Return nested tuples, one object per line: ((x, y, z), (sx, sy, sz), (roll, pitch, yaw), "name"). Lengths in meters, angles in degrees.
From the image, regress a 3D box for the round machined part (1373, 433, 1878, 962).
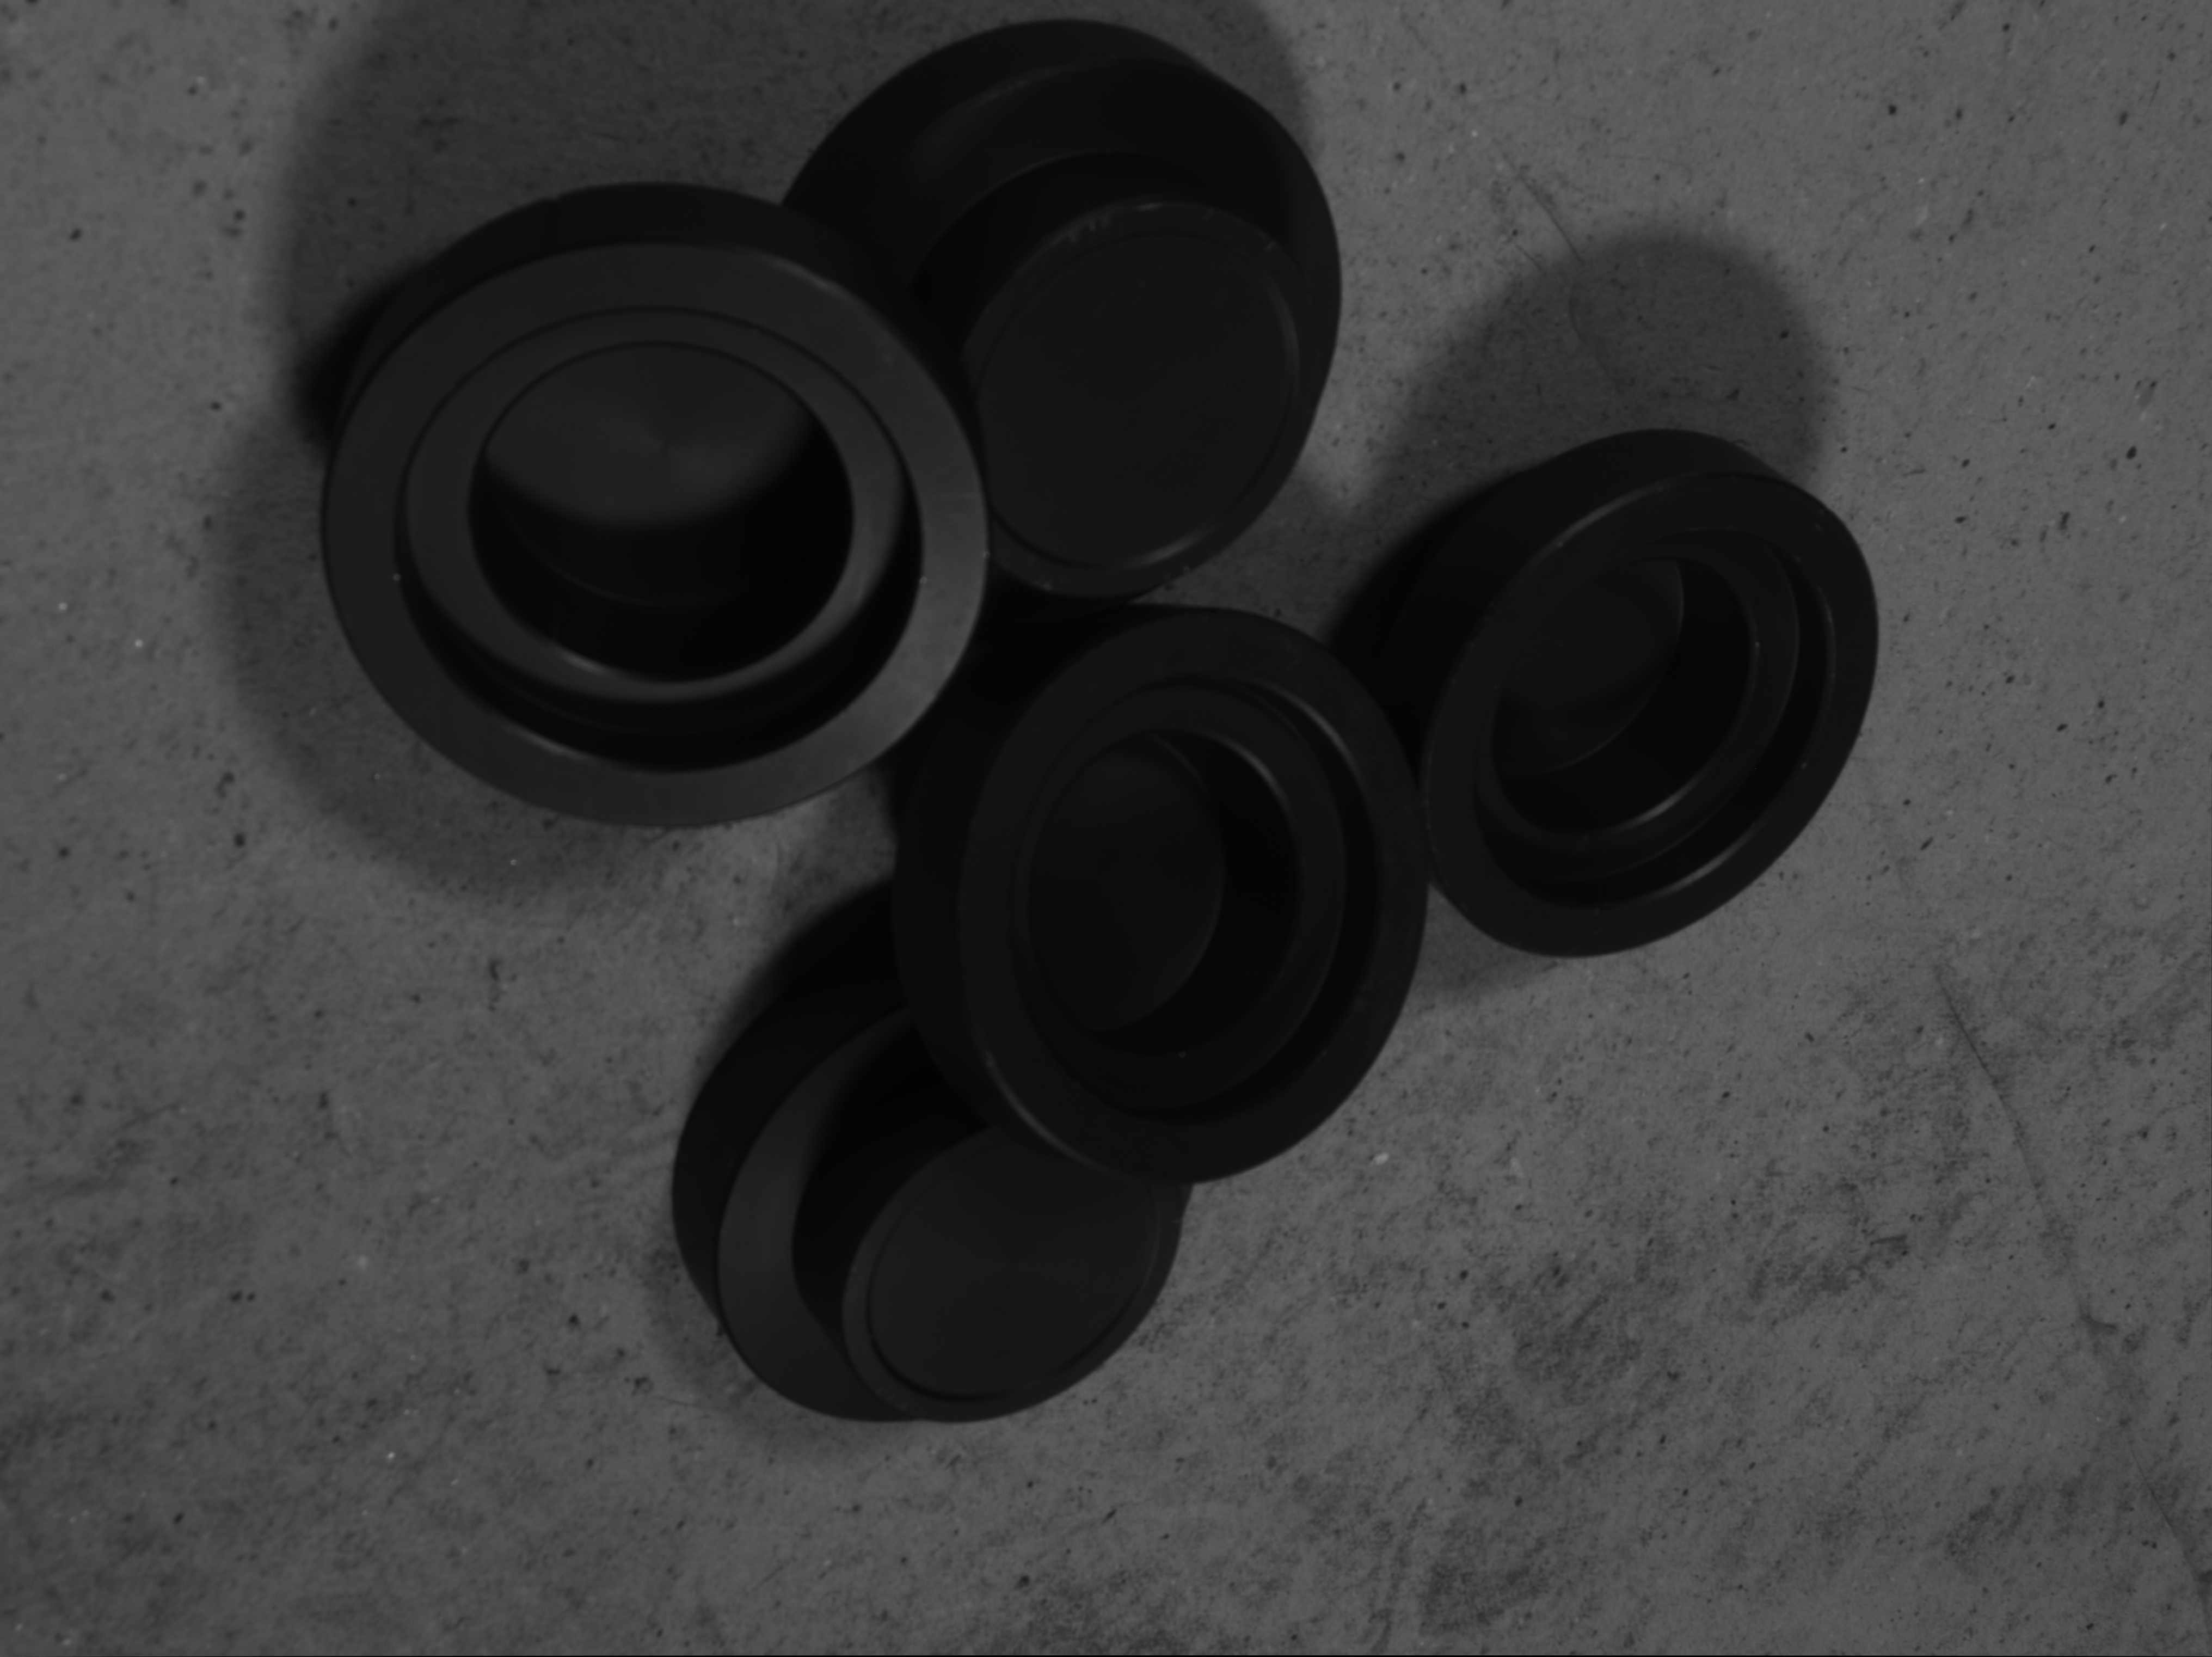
((0.090, -0.028, 0.675), (0.098, 0.042, 0.098), (-15, 125, -22), "round machined part")

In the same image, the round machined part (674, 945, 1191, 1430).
((-0.026, 0.070, 0.667), (0.098, 0.042, 0.098), (-15, 125, -22), "round machined part")

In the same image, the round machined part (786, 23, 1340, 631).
((-0.005, -0.076, 0.590), (0.098, 0.042, 0.098), (-15, 125, -22), "round machined part")

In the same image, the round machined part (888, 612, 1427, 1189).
((0.004, 0.011, 0.635), (0.098, 0.042, 0.098), (-4, 97, -32), "round machined part")

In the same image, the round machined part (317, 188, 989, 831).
((-0.068, -0.052, 0.555), (0.098, 0.042, 0.098), (-2, 123, -4), "round machined part")
